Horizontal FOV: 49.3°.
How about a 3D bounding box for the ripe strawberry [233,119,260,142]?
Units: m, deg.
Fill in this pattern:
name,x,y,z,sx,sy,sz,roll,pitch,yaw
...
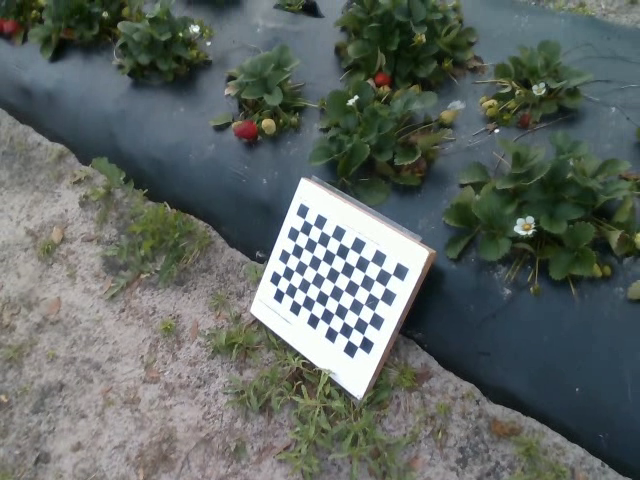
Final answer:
name,x,y,z,sx,sy,sz,roll,pitch,yaw
ripe strawberry,-0.161,-0.223,1.429,0.059,0.045,0.047,-23,36,-39
